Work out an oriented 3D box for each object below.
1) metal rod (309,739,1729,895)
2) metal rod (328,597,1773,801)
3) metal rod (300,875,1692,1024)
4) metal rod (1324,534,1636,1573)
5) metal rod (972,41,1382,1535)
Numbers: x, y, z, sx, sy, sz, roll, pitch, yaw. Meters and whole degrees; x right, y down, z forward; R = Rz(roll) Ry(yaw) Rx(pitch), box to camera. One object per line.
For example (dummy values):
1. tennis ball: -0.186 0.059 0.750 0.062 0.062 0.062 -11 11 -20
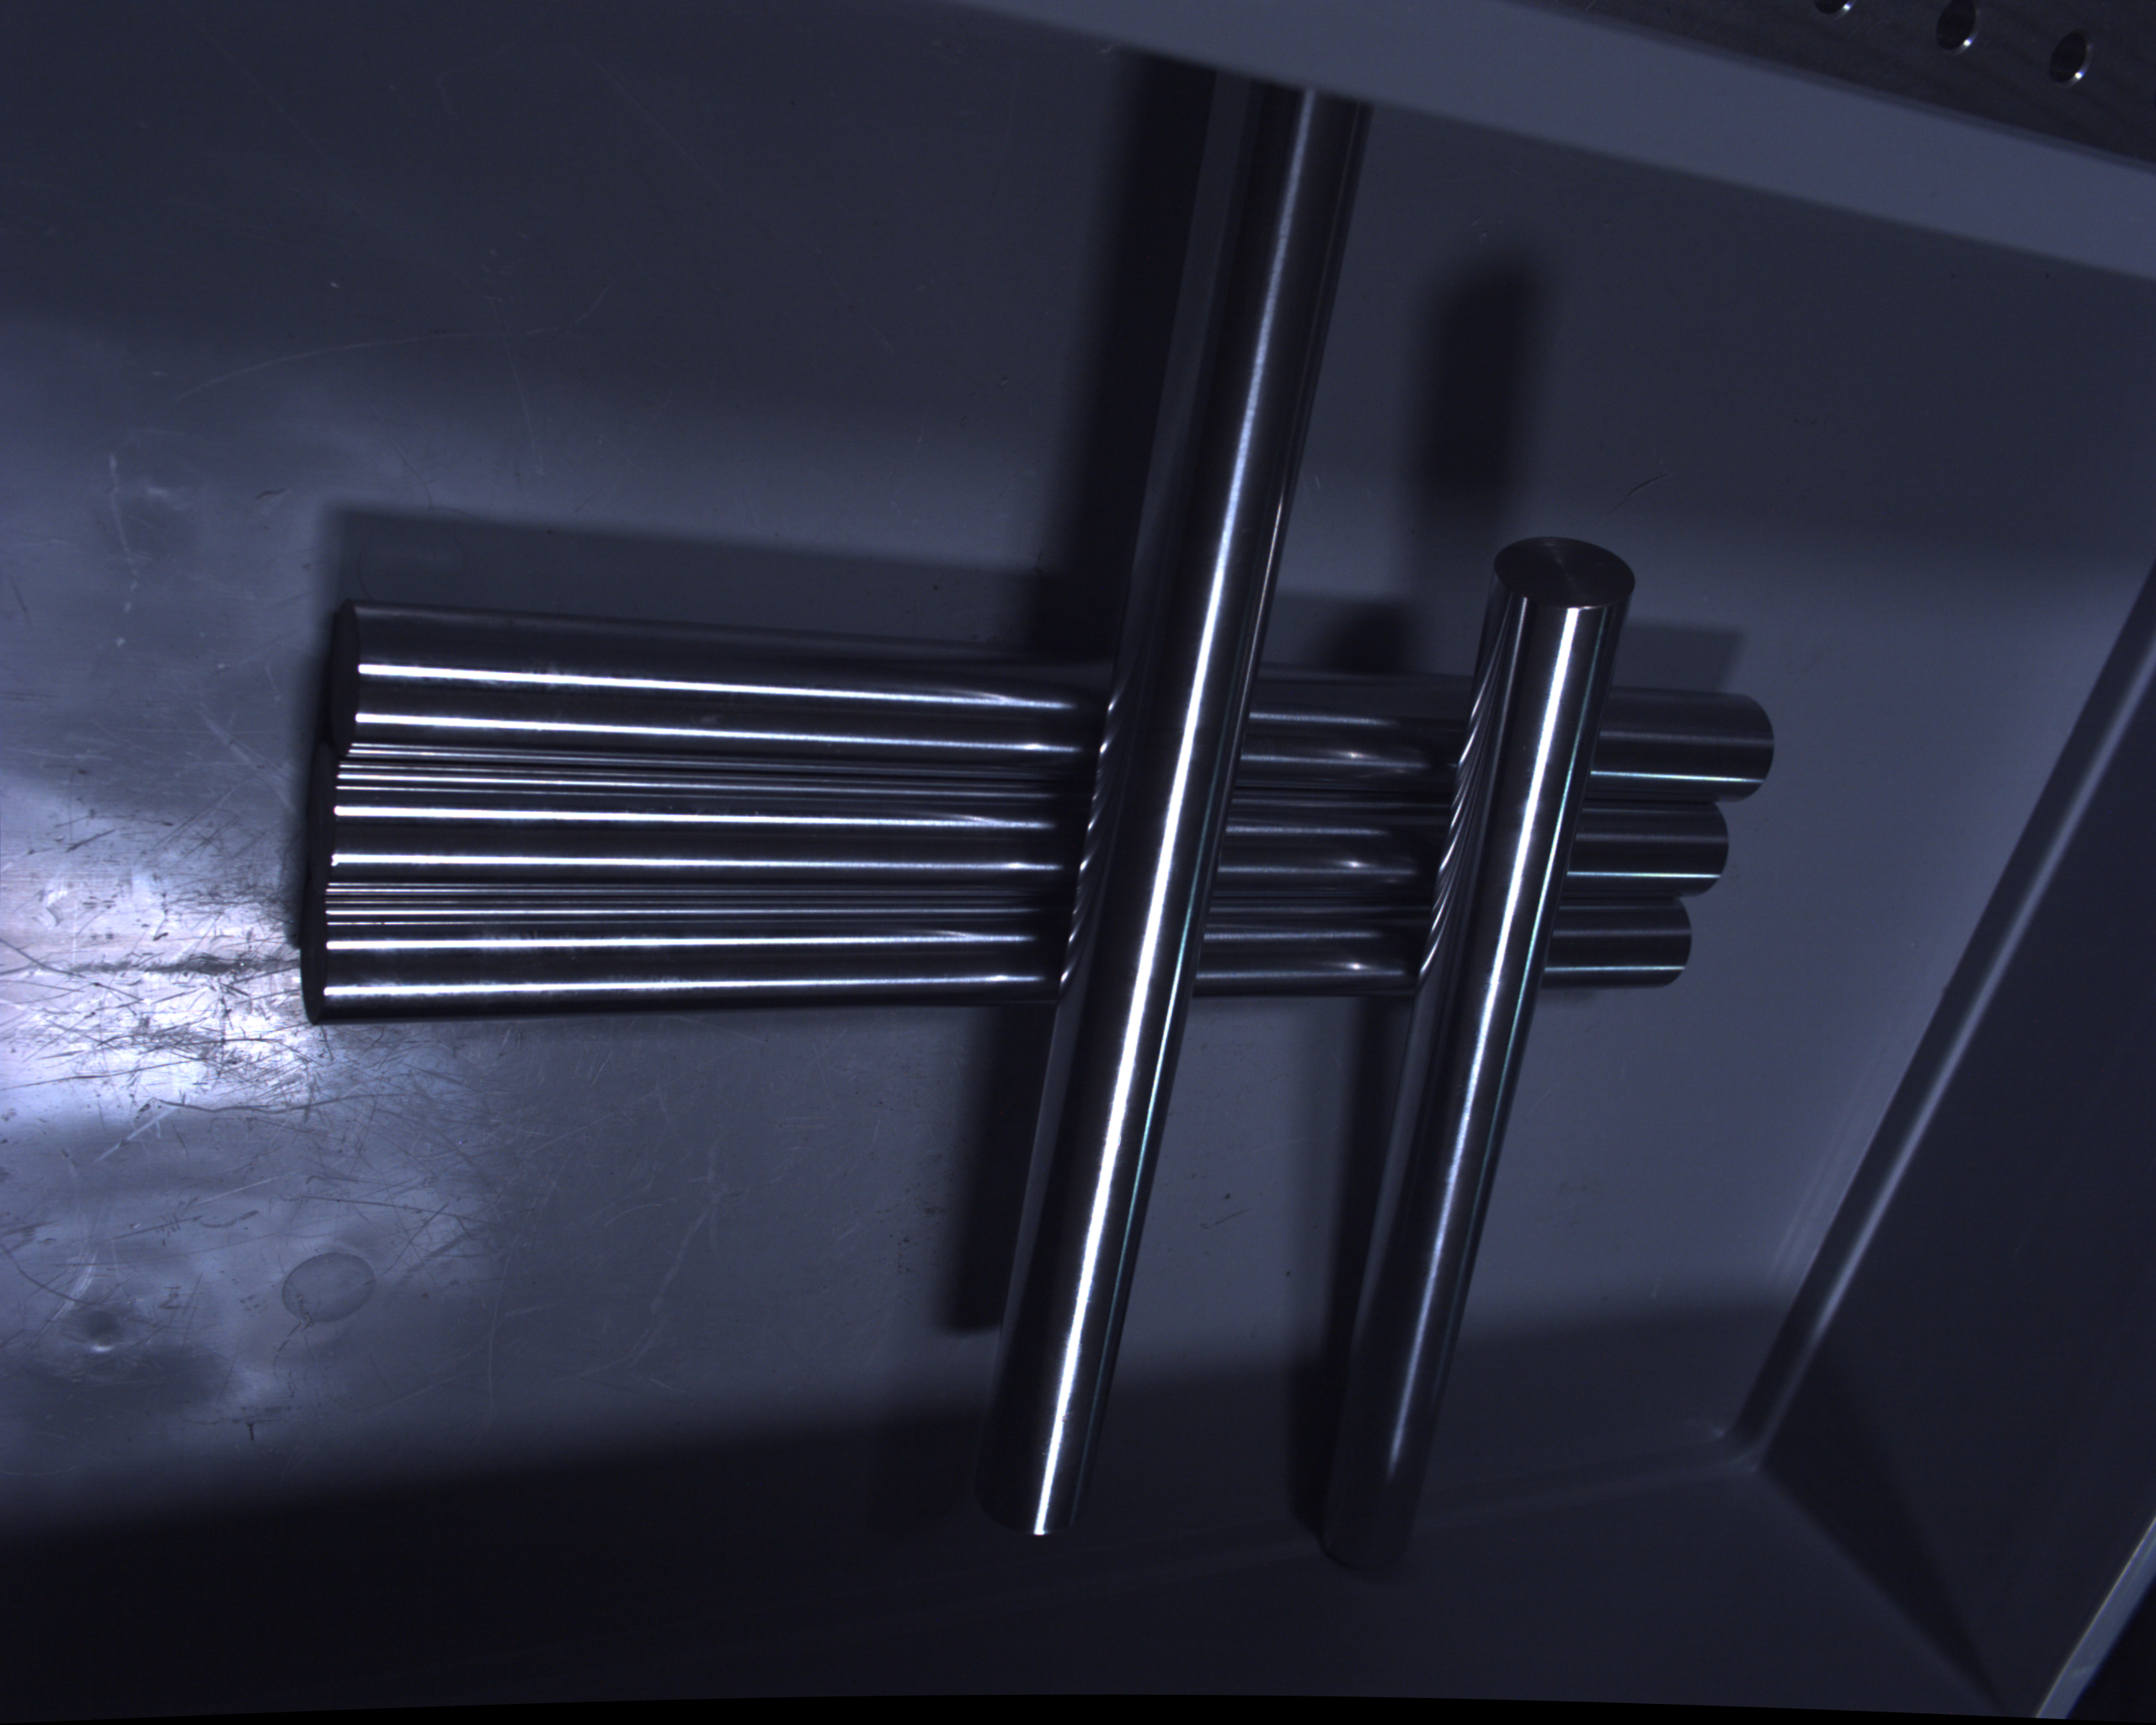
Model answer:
1. metal rod: 0.010 -0.006 0.410 0.303 0.025 0.025 1 118 -29
2. metal rod: 0.017 -0.028 0.401 0.303 0.025 0.025 1 118 -29
3. metal rod: 0.004 0.016 0.421 0.303 0.025 0.025 1 118 -29
4. metal rod: 0.083 0.063 0.468 0.025 0.025 0.298 -15 132 -20
5. metal rod: 0.012 0.007 0.387 0.025 0.025 0.298 -5 121 -26
